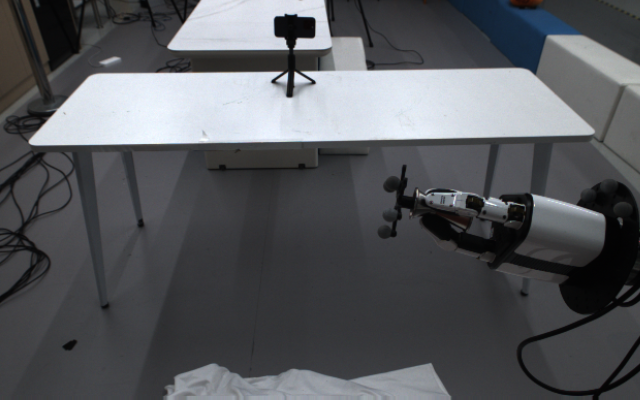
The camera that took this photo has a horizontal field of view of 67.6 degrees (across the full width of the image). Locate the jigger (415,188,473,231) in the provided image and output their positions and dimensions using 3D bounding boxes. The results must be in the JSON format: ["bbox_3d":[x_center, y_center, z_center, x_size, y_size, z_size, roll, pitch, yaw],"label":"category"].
[{"bbox_3d":[0.151,0.006,0.579,0.071,0.043,0.043,11,35,3],"label":"jigger"}]
